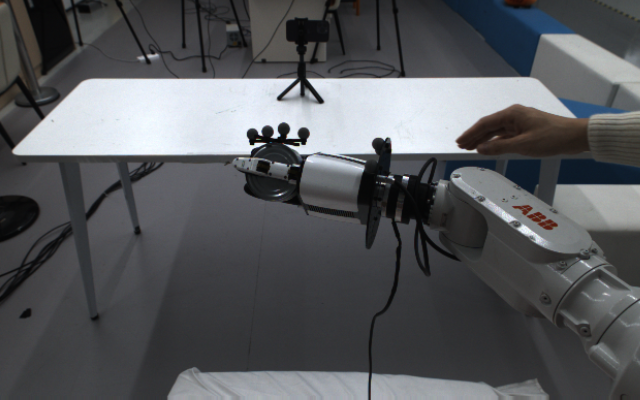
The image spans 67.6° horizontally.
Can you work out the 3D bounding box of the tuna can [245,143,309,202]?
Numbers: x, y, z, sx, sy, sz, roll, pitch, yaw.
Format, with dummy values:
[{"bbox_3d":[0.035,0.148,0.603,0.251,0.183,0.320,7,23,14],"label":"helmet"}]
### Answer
[{"bbox_3d":[-0.064,-0.039,0.715,0.085,0.085,0.034,12,-1,14],"label":"tuna can"}]
